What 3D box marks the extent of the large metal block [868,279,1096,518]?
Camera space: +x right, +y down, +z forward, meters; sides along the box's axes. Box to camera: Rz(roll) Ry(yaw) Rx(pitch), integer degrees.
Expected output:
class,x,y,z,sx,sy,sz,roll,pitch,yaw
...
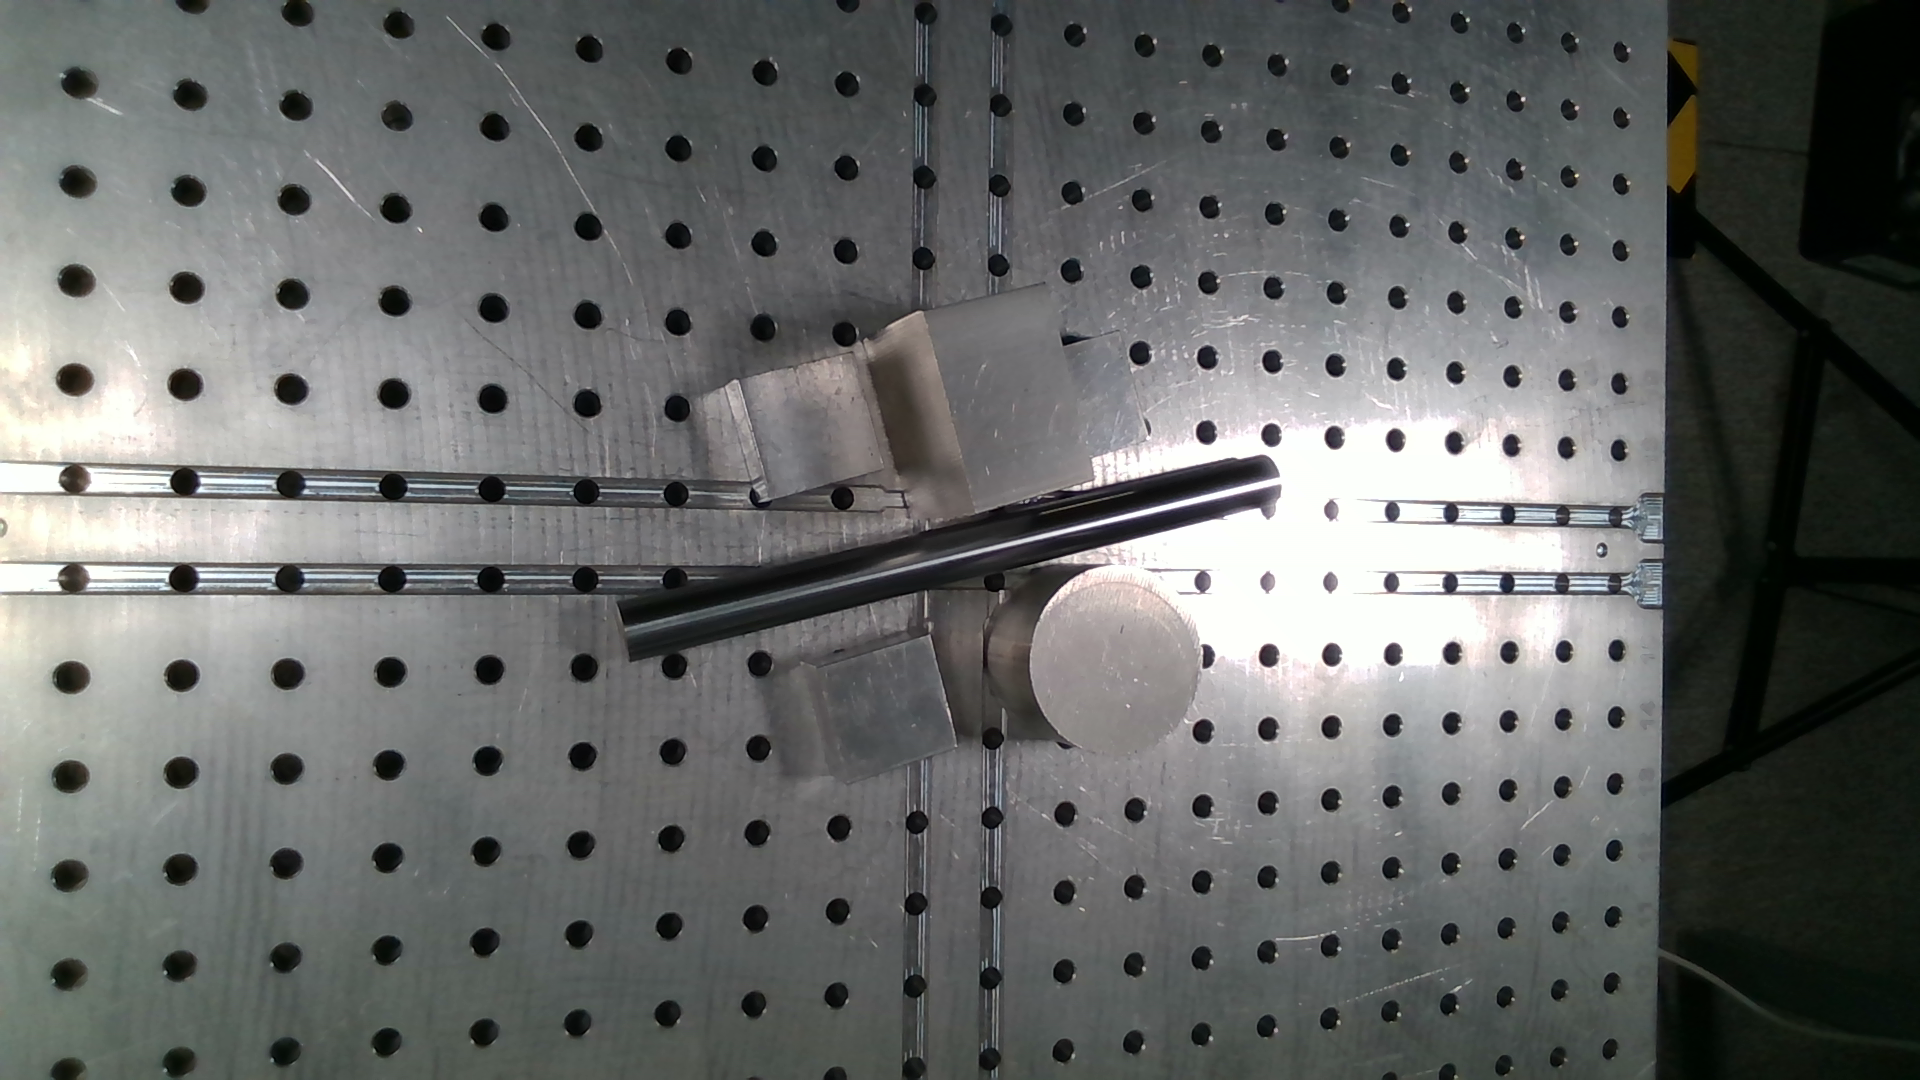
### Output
class,x,y,z,sx,sy,sz,roll,pitch,yaw
large metal block,0.006,-0.054,0.560,0.050,0.080,0.080,-17,96,-20

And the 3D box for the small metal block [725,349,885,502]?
class,x,y,z,sx,sy,sz,roll,pitch,yaw
small metal block,-0.064,-0.047,0.565,0.050,0.025,0.050,-17,96,-19

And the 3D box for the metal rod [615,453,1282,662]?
class,x,y,z,sx,sy,sz,roll,pitch,yaw
metal rod,0.005,0.004,0.590,0.300,0.025,0.025,-13,95,-20

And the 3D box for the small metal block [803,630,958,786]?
class,x,y,z,sx,sy,sz,roll,pitch,yaw
small metal block,-0.034,0.069,0.576,0.050,0.025,0.050,-16,96,-20

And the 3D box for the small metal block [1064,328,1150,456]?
class,x,y,z,sx,sy,sz,roll,pitch,yaw
small metal block,0.050,-0.061,0.607,0.050,0.025,0.050,-19,97,-19

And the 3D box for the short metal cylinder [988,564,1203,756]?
class,x,y,z,sx,sy,sz,roll,pitch,yaw
short metal cylinder,0.058,0.050,0.596,0.080,0.050,0.080,0,90,-20
